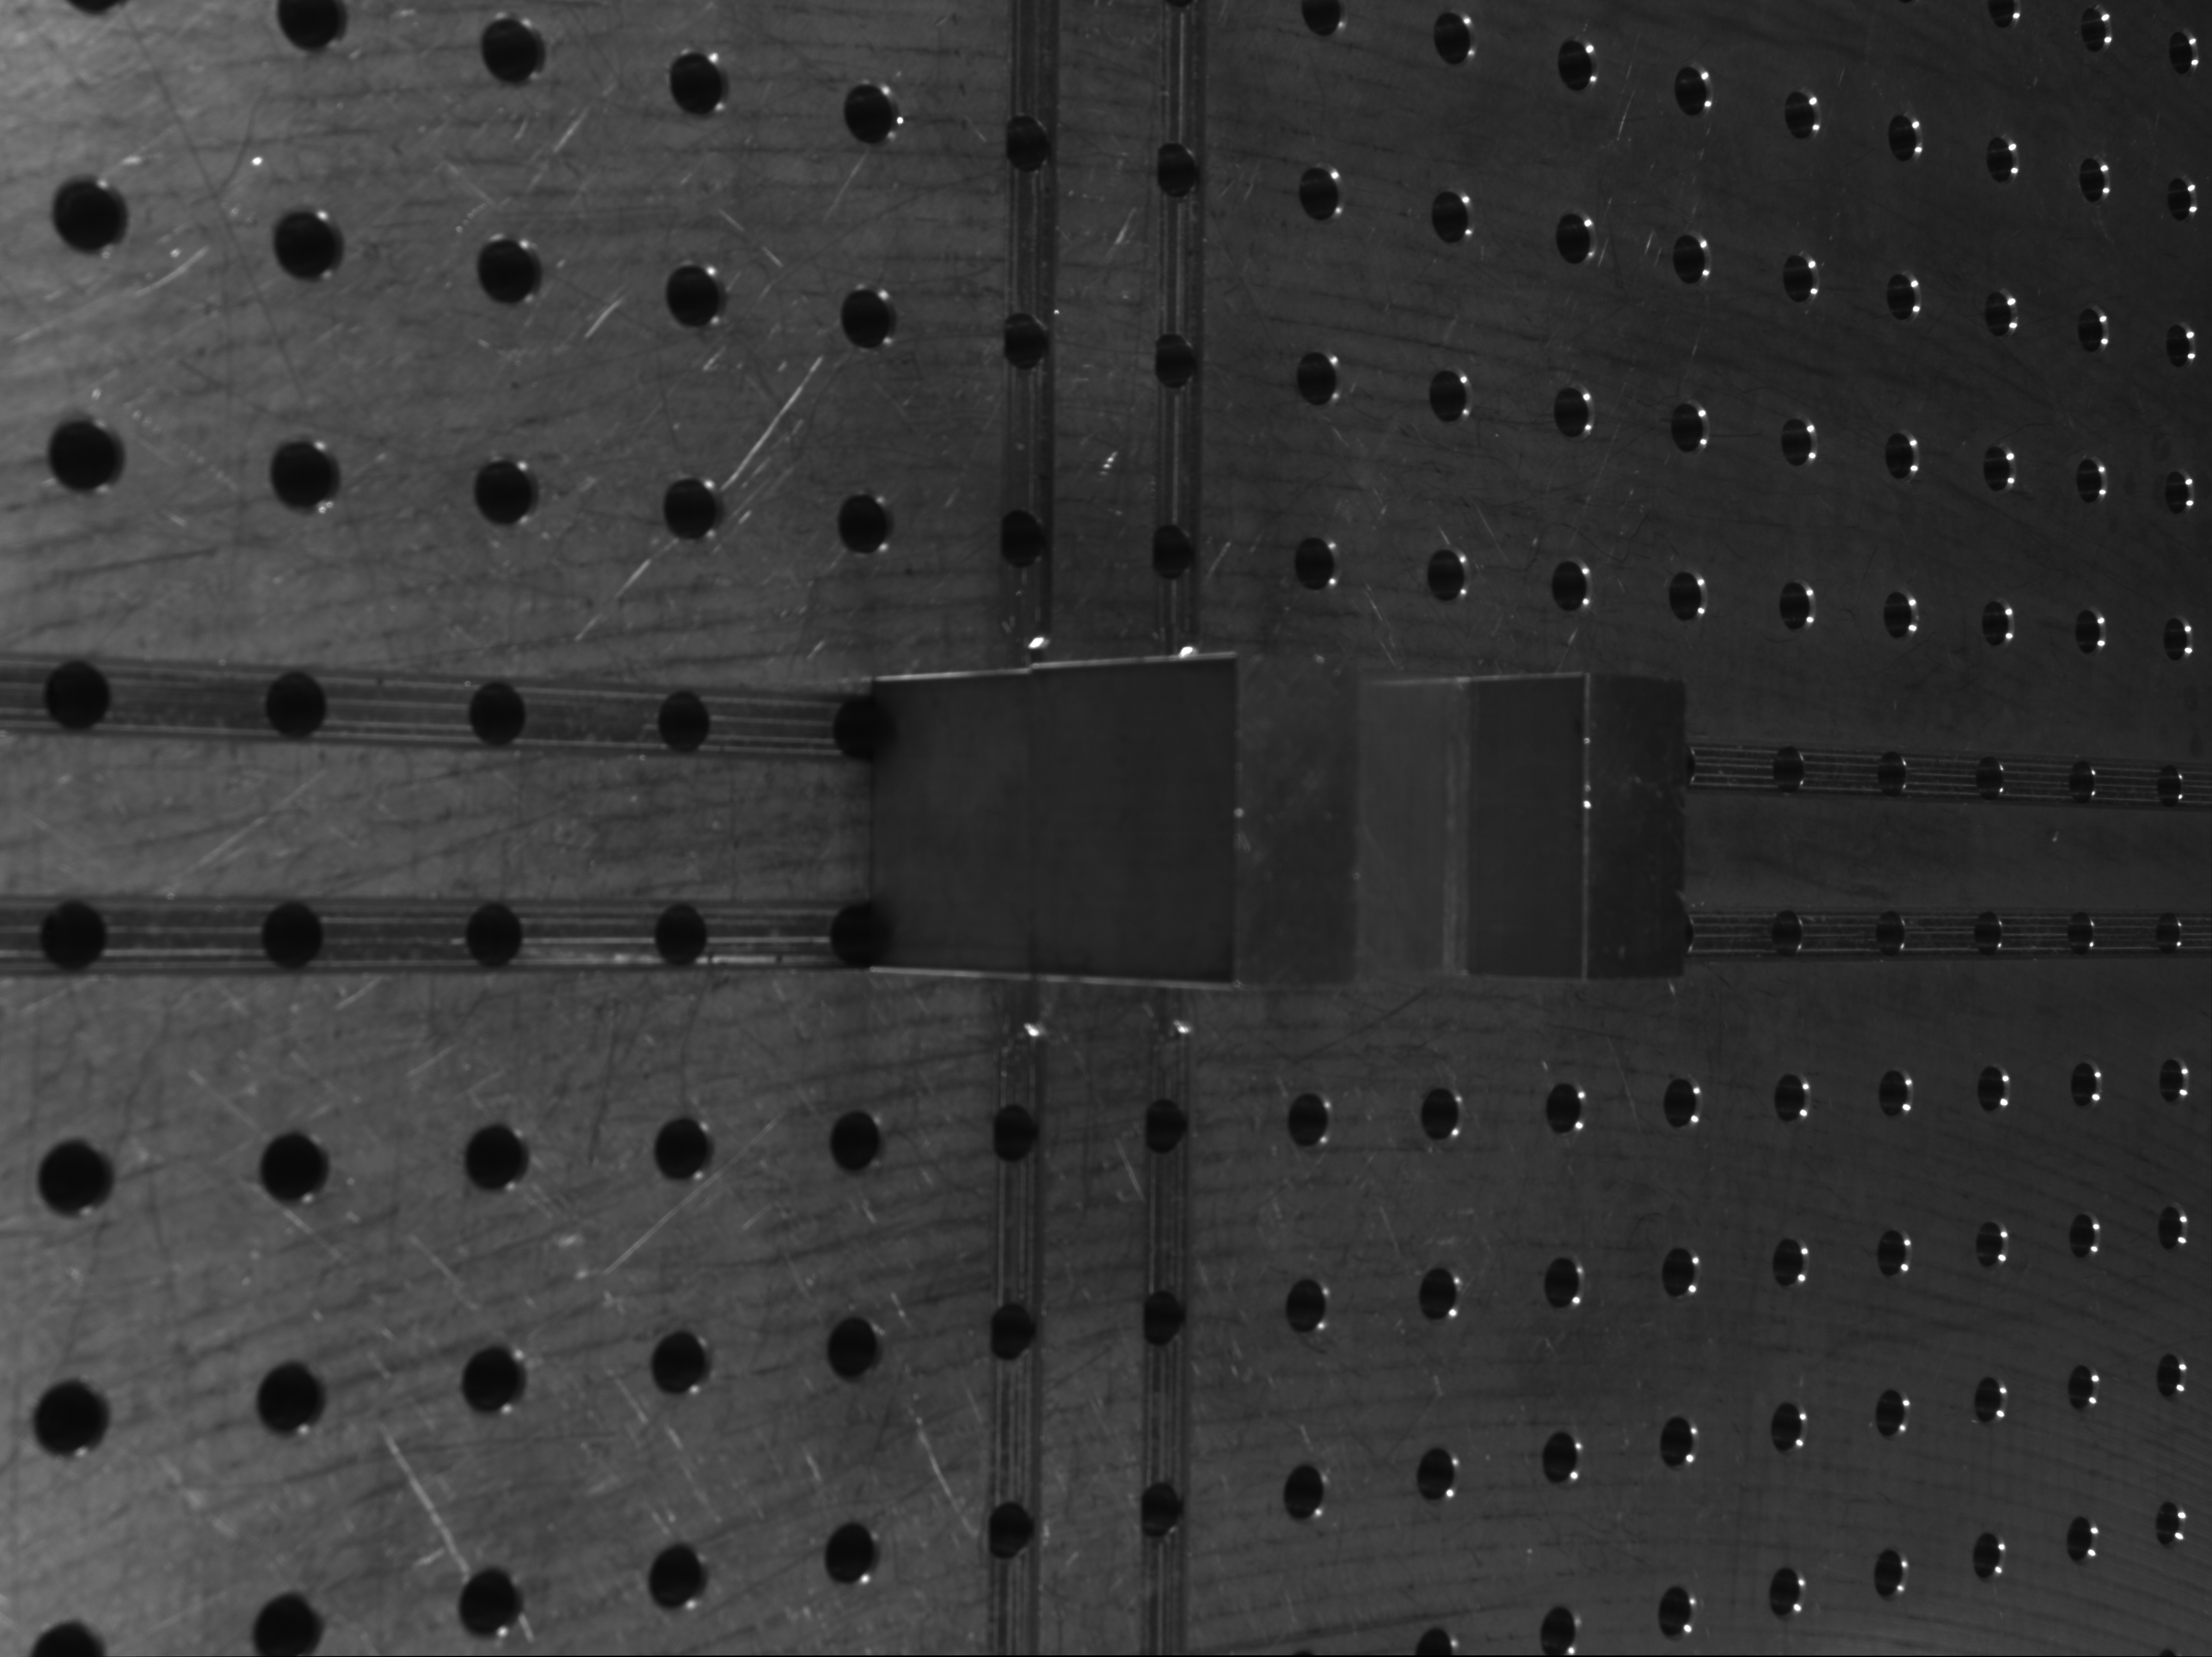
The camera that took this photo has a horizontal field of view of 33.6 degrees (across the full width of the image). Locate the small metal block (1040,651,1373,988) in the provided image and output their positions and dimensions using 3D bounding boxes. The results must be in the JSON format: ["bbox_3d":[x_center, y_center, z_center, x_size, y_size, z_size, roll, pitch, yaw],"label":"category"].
[{"bbox_3d":[0.015,-0.001,0.571,0.025,0.050,0.050,1,89,-39],"label":"small metal block"}]

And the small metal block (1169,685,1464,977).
[{"bbox_3d":[0.037,0.000,0.655,0.025,0.050,0.050,-1,90,-40],"label":"small metal block"}]

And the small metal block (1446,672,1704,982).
[{"bbox_3d":[0.074,0.000,0.619,0.025,0.050,0.050,1,89,-39],"label":"small metal block"}]

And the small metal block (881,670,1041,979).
[{"bbox_3d":[-0.013,0.000,0.613,0.025,0.050,0.050,1,89,-40],"label":"small metal block"}]

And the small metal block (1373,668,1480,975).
[{"bbox_3d":[0.035,-0.001,0.606,0.050,0.025,0.050,1,89,-40],"label":"small metal block"}]
